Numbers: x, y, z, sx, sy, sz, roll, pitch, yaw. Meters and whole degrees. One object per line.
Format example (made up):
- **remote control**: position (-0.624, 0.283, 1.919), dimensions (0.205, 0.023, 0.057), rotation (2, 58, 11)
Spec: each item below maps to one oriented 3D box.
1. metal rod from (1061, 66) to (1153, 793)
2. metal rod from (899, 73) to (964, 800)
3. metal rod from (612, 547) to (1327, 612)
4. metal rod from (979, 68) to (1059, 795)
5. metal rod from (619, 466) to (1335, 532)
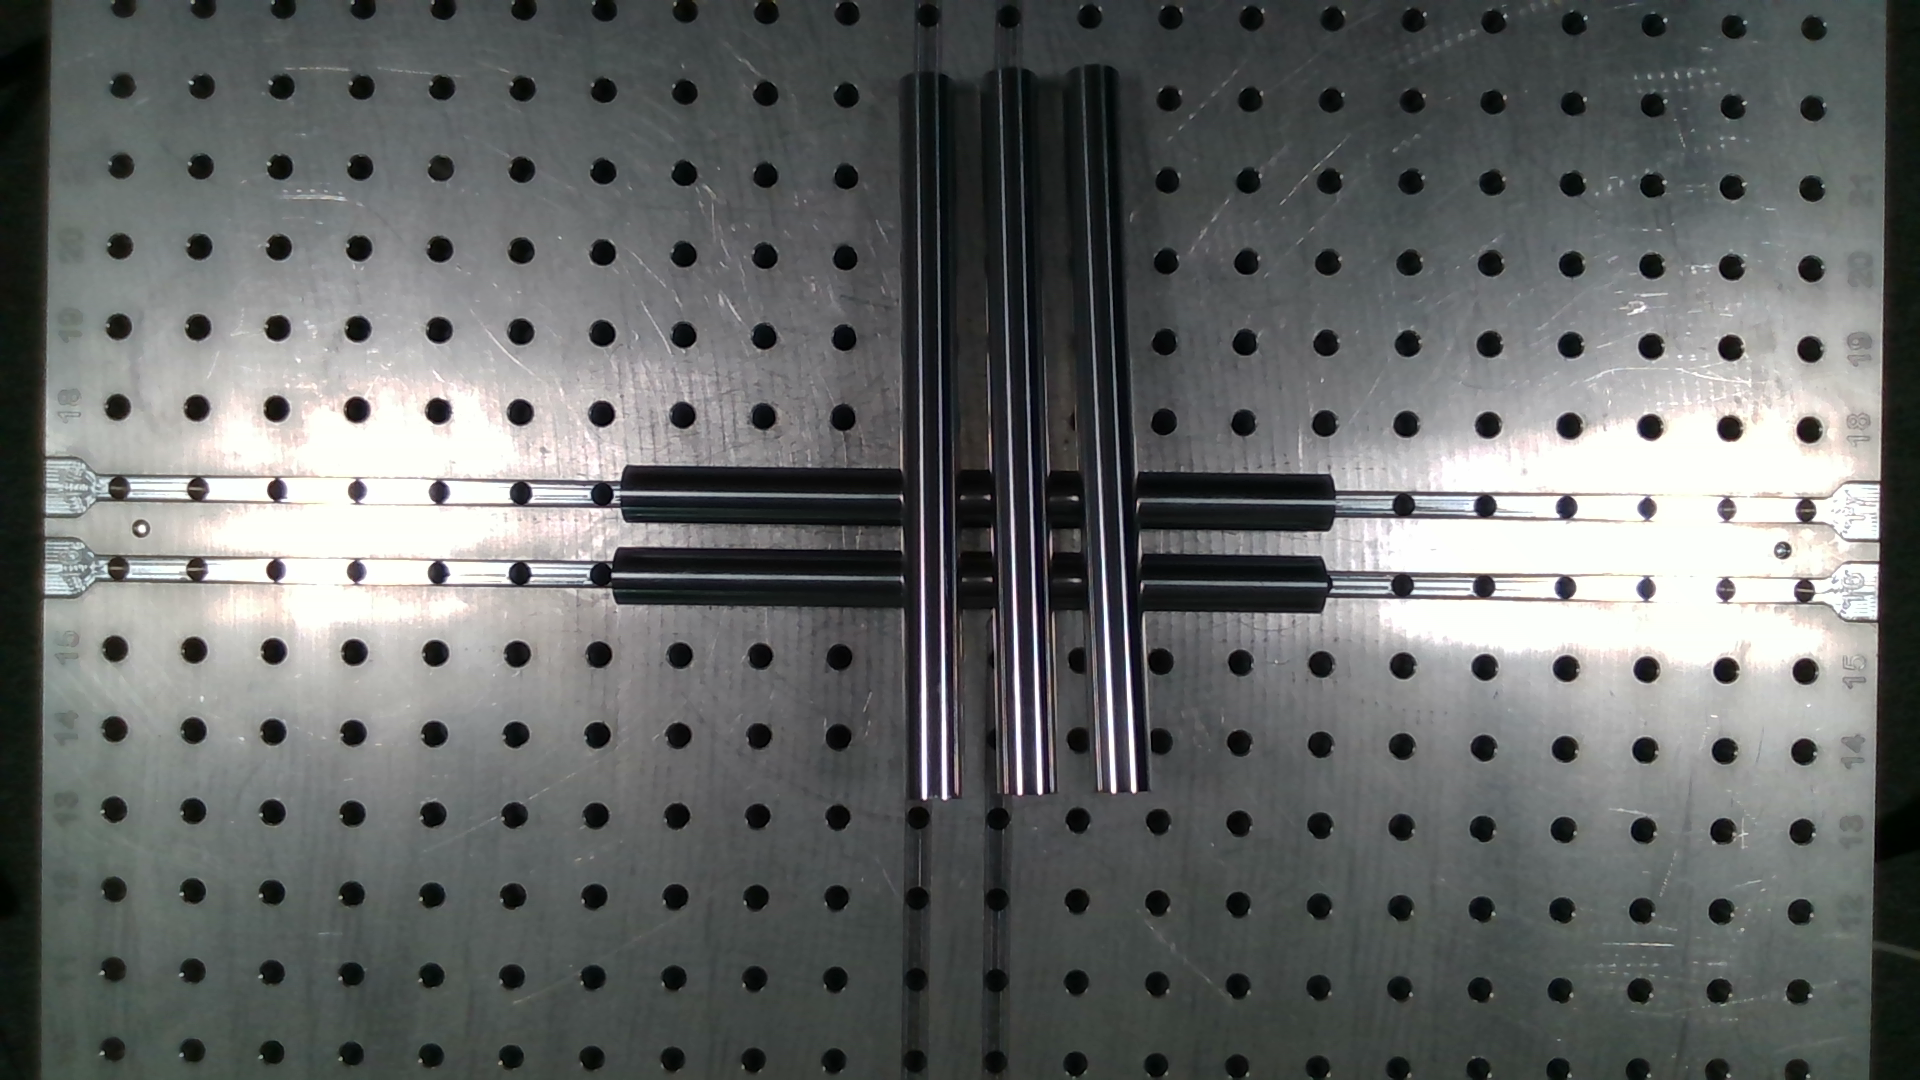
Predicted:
- **metal rod**: position (0.060, -0.048, 0.568), dimensions (0.025, 0.025, 0.300), rotation (-2, 82, 0)
- **metal rod**: position (-0.013, -0.045, 0.568), dimensions (0.025, 0.025, 0.300), rotation (-1, 82, 0)
- **metal rod**: position (0.004, 0.017, 0.590), dimensions (0.300, 0.025, 0.025), rotation (1, 90, 0)
- **metal rod**: position (0.024, -0.047, 0.568), dimensions (0.025, 0.025, 0.300), rotation (-1, 82, 0)
- **metal rod**: position (0.007, -0.018, 0.589), dimensions (0.300, 0.025, 0.025), rotation (1, 90, 0)
